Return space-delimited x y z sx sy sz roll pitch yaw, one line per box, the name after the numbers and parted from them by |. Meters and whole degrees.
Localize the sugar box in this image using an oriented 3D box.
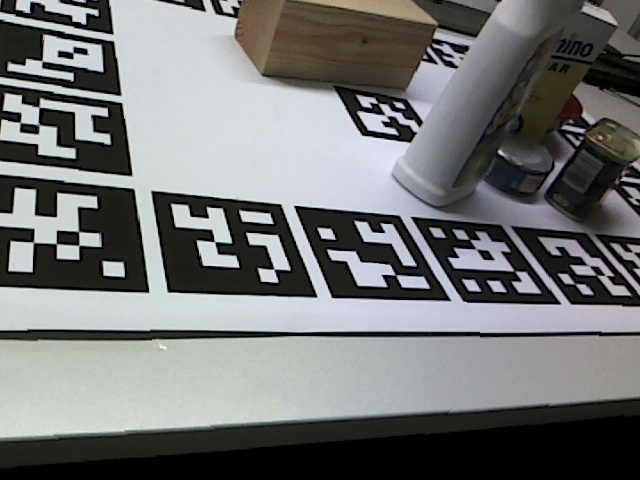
0.231 -0.179 0.673 0.093 0.176 0.045 15 40 -6 | sugar box

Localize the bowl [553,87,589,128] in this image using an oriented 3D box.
0.258 -0.186 0.801 0.161 0.055 0.162 12 40 -10 | bowl

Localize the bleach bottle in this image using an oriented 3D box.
0.156 -0.150 0.543 0.102 0.251 0.068 -21 55 -42 | bleach bottle

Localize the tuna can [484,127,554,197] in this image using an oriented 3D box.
0.204 -0.086 0.665 0.085 0.034 0.086 14 42 -13 | tuna can

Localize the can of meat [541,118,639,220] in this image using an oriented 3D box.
0.294 -0.078 0.673 0.058 0.084 0.101 39 38 23 | can of meat

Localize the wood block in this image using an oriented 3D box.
0.017 -0.241 0.714 0.205 0.090 0.091 -4 50 -33 | wood block
